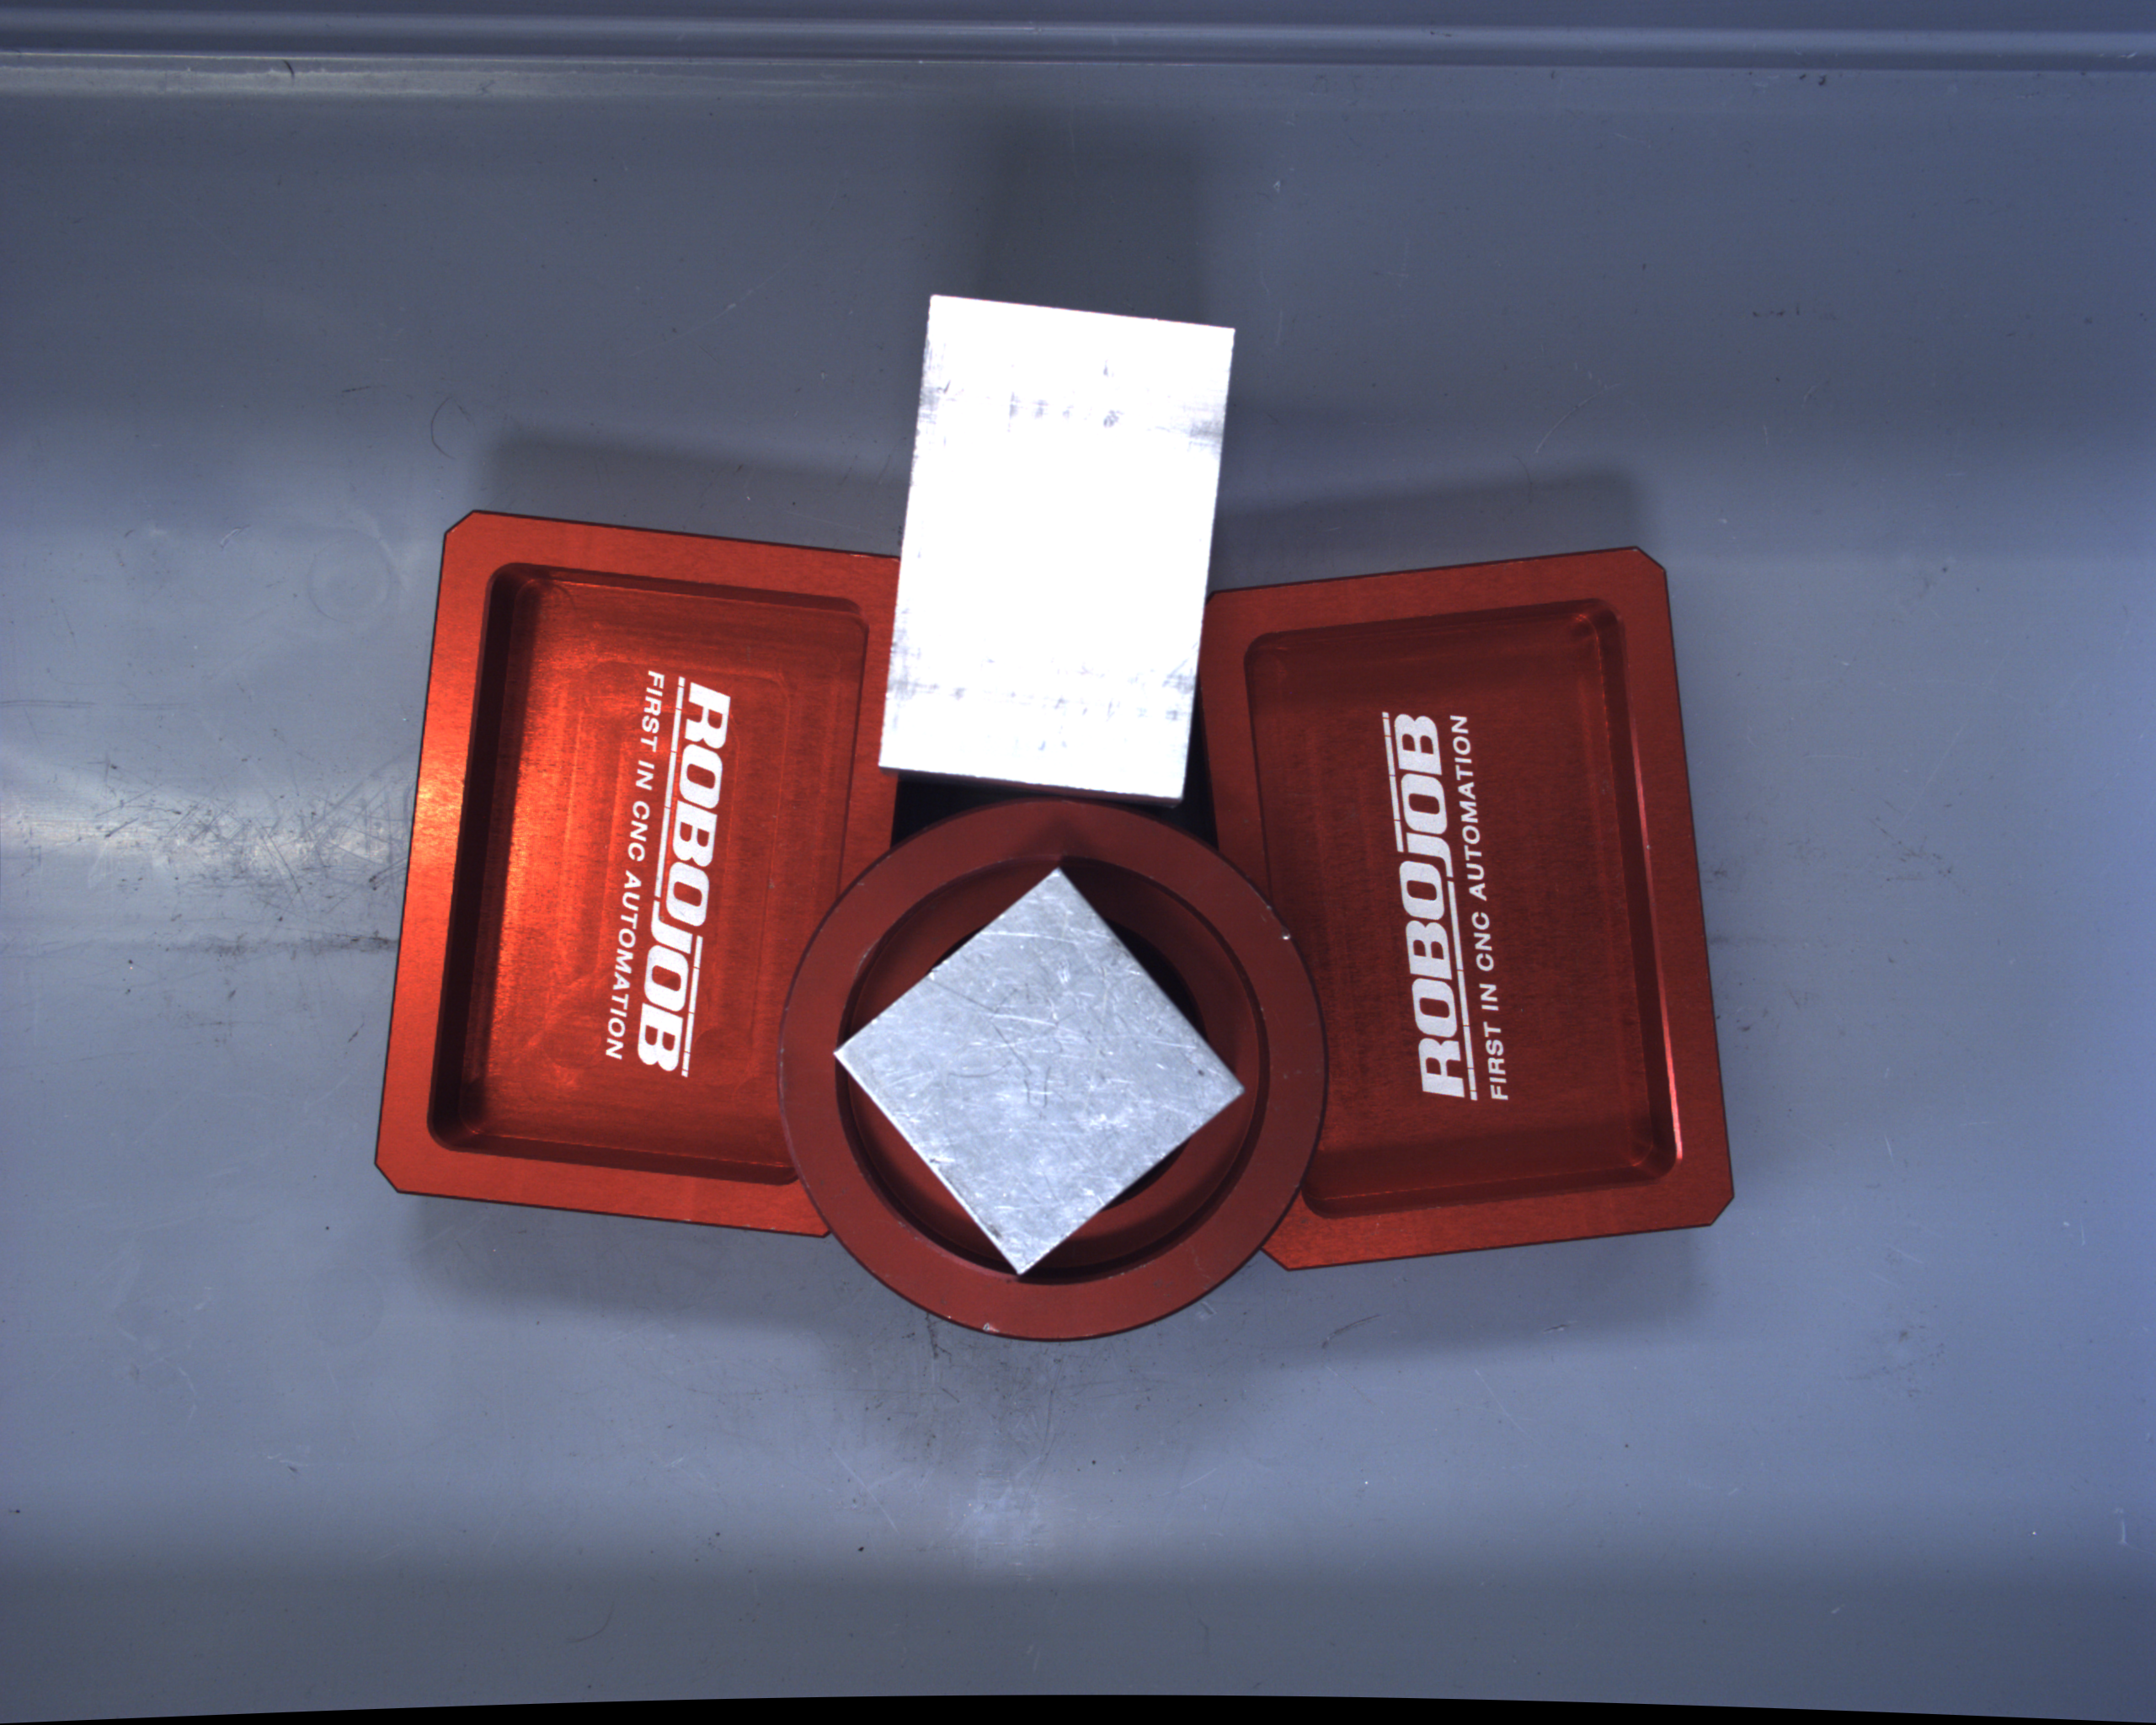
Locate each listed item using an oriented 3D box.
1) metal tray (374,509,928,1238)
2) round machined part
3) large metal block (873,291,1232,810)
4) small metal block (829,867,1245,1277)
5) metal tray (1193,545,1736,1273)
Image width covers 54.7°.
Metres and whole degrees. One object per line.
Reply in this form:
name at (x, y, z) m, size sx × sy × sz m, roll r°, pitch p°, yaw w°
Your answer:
metal tray at (-0.081, 0.002, 0.406) m, size 0.091 × 0.030 × 0.129 m, roll 6°, pitch 90°, yaw 0°
round machined part at (-0.004, 0.037, 0.392) m, size 0.099 × 0.042 × 0.097 m, roll 0°, pitch 90°, yaw 0°
large metal block at (-0.004, -0.052, 0.382) m, size 0.050 × 0.080 × 0.080 m, roll 6°, pitch 90°, yaw 0°
small metal block at (-0.007, 0.036, 0.367) m, size 0.050 × 0.025 × 0.050 m, roll -39°, pitch 90°, yaw 0°
metal tray at (0.072, 0.009, 0.407) m, size 0.091 × 0.030 × 0.129 m, roll -6°, pitch 90°, yaw 0°
